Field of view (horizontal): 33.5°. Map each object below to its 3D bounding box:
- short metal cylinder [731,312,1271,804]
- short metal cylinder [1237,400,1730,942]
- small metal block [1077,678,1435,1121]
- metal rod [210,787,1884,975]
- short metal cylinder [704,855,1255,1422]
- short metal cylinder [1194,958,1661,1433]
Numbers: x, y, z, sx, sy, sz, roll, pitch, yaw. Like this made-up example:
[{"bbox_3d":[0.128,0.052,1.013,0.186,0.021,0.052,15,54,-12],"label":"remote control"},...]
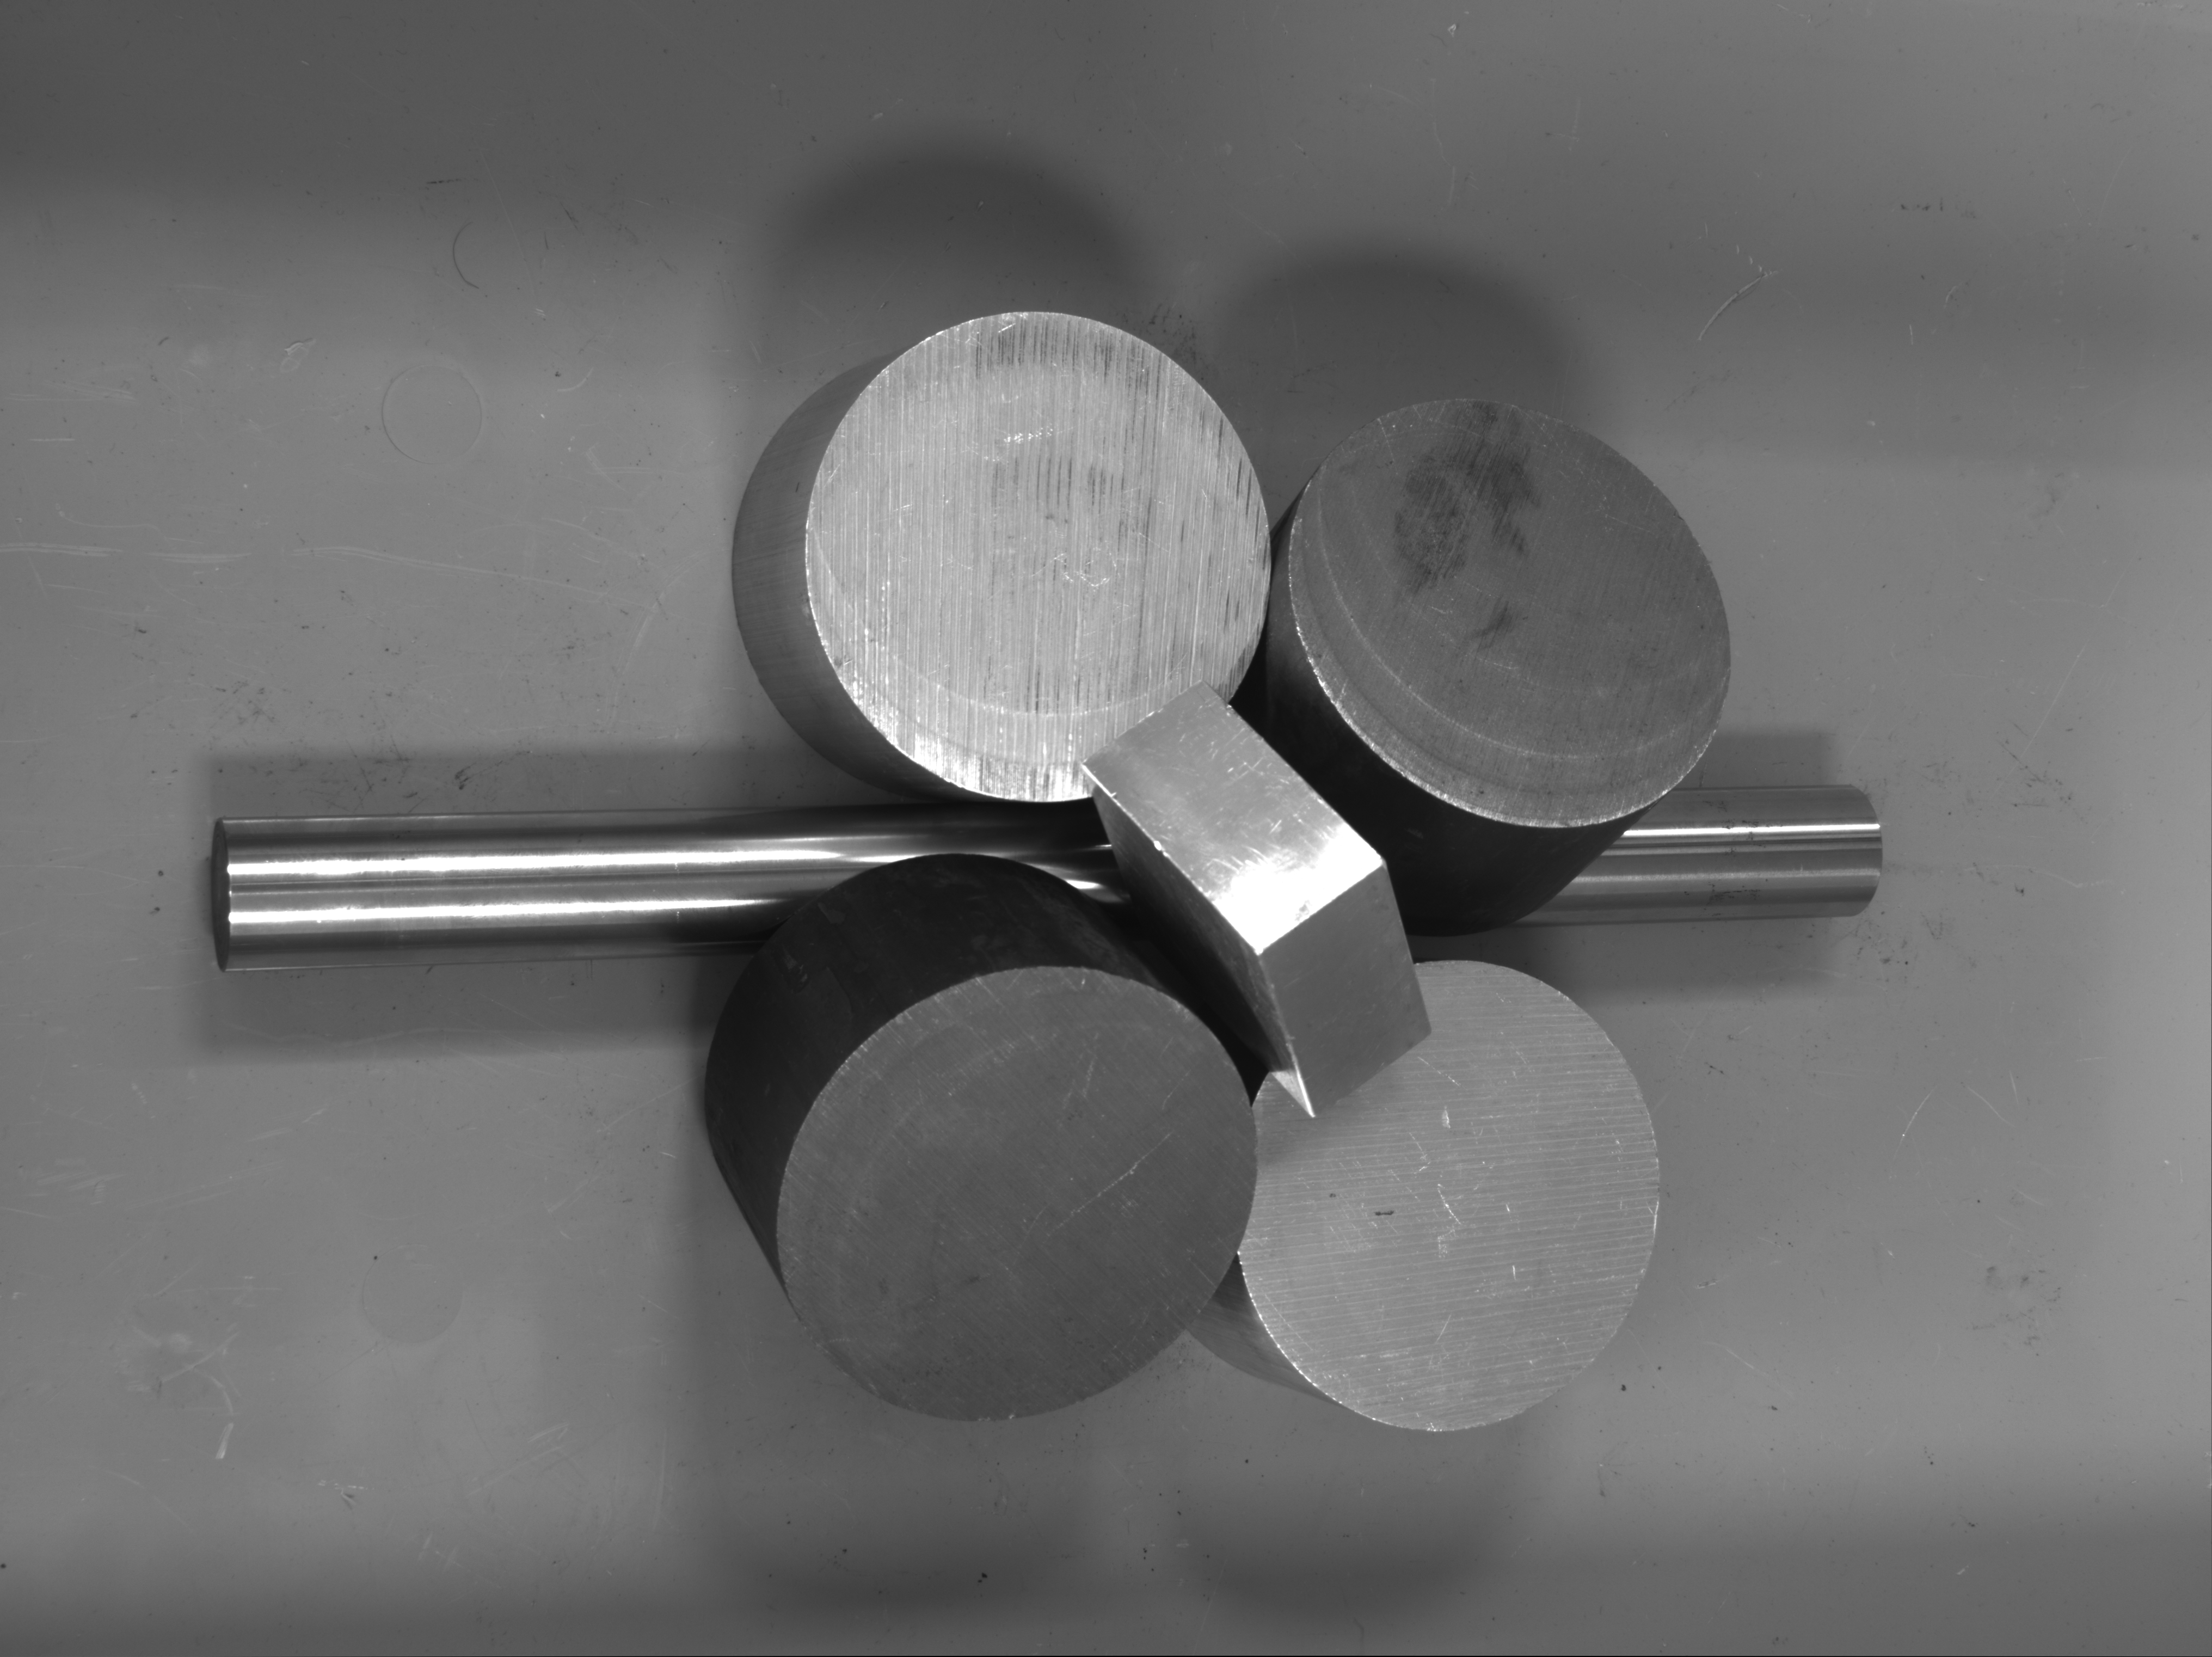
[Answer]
[{"bbox_3d":[-0.019,-0.044,0.622,0.080,0.050,0.080,0,90,-20],"label":"short metal cylinder"},{"bbox_3d":[0.061,-0.027,0.637,0.080,0.050,0.080,8,64,-16],"label":"short metal cylinder"},{"bbox_3d":[0.025,0.012,0.600,0.025,0.050,0.050,-35,143,-11],"label":"small metal block"},{"bbox_3d":[-0.001,0.008,0.641,0.301,0.025,0.025,-1,90,-20],"label":"metal rod"},{"bbox_3d":[-0.022,0.051,0.608,0.080,0.050,0.080,-7,112,-18],"label":"short metal cylinder"},{"bbox_3d":[0.050,0.063,0.647,0.080,0.050,0.080,0,90,-20],"label":"short metal cylinder"}]
